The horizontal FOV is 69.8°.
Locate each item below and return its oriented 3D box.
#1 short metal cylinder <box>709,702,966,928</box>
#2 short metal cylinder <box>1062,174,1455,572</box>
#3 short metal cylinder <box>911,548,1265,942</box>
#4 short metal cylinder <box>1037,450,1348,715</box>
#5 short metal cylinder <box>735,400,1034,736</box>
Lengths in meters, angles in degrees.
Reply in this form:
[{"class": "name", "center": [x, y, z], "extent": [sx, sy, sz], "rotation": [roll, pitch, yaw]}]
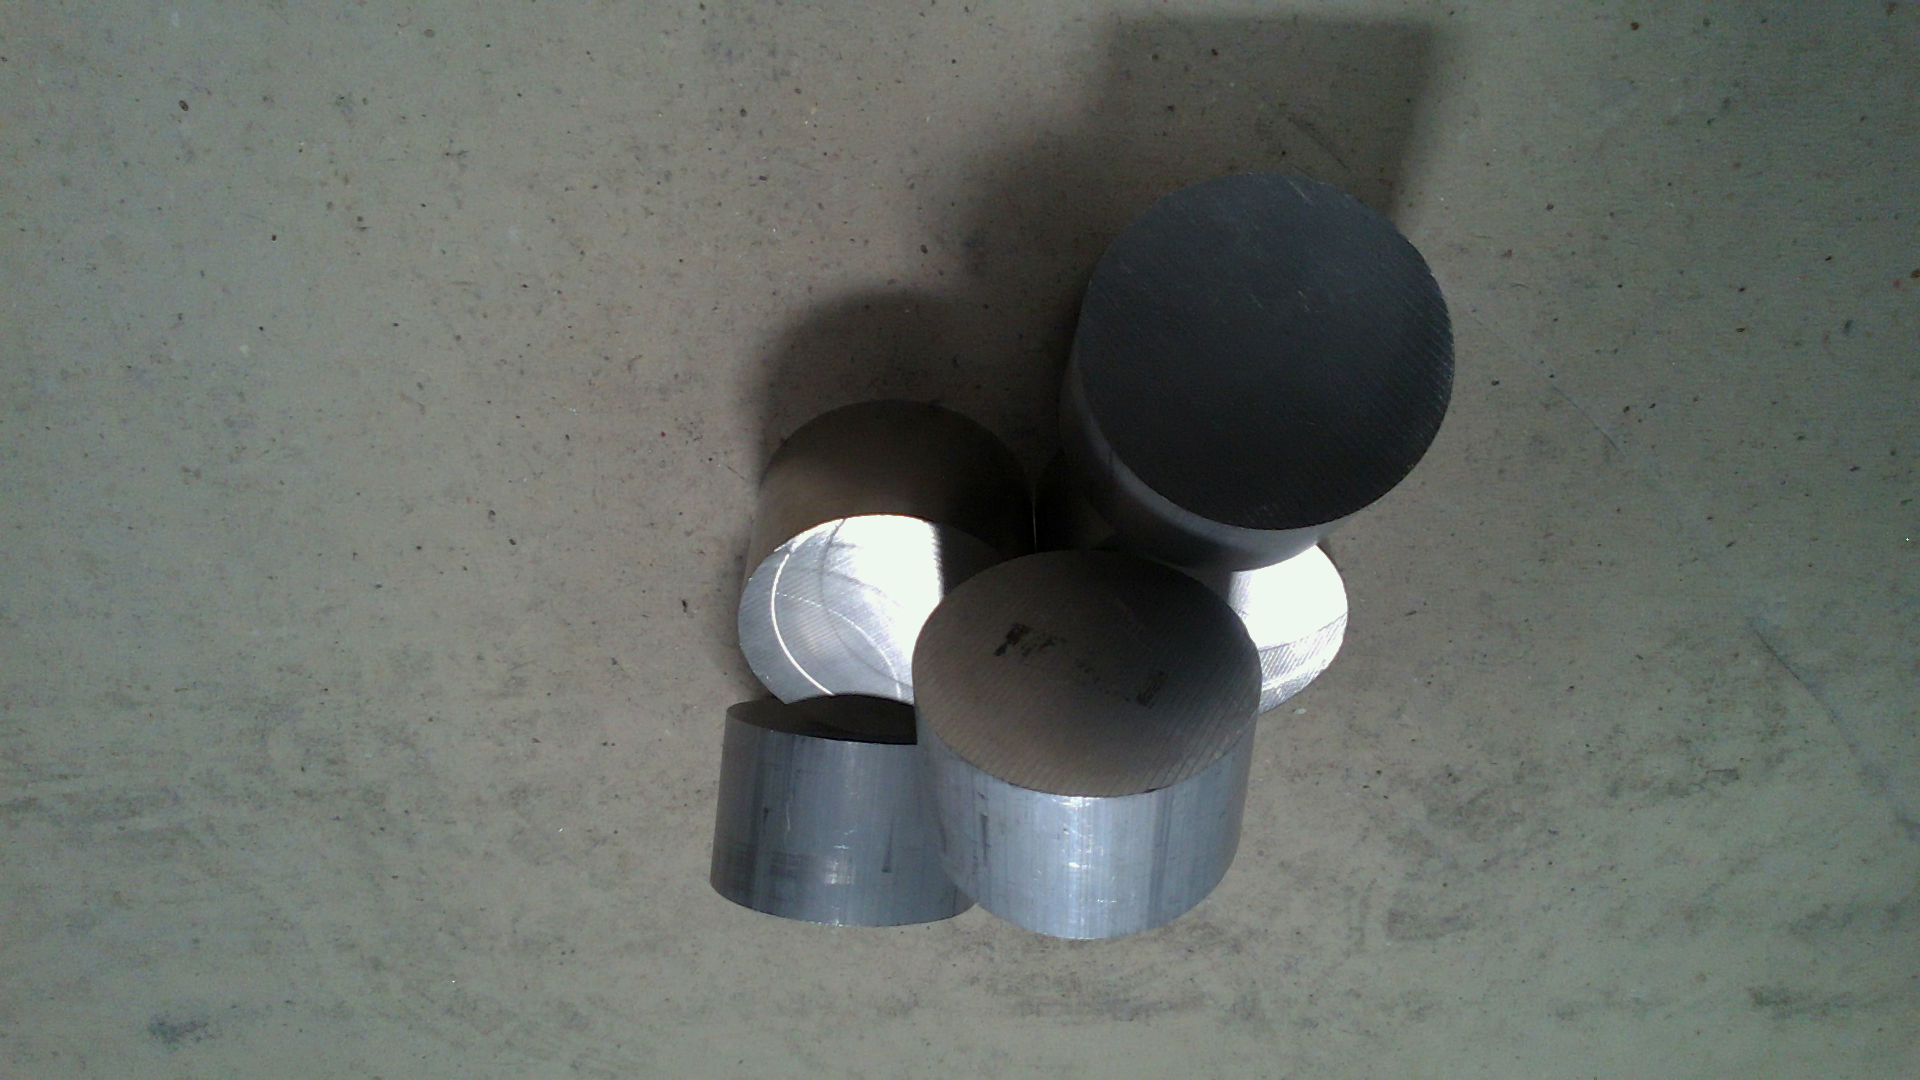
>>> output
[{"class": "short metal cylinder", "center": [-0.033, 0.079, 0.413], "extent": [0.080, 0.080, 0.050], "rotation": [5, 91, -5]}, {"class": "short metal cylinder", "center": [0.065, -0.036, 0.316], "extent": [0.080, 0.080, 0.050], "rotation": [0, 168, 0]}, {"class": "short metal cylinder", "center": [0.030, 0.047, 0.329], "extent": [0.080, 0.080, 0.050], "rotation": [-1, 130, 1]}, {"class": "short metal cylinder", "center": [0.061, 0.008, 0.380], "extent": [0.080, 0.050, 0.080], "rotation": [0, 130, 0]}, {"class": "short metal cylinder", "center": [-0.019, 0.009, 0.381], "extent": [0.080, 0.050, 0.080], "rotation": [0, 130, 0]}]
